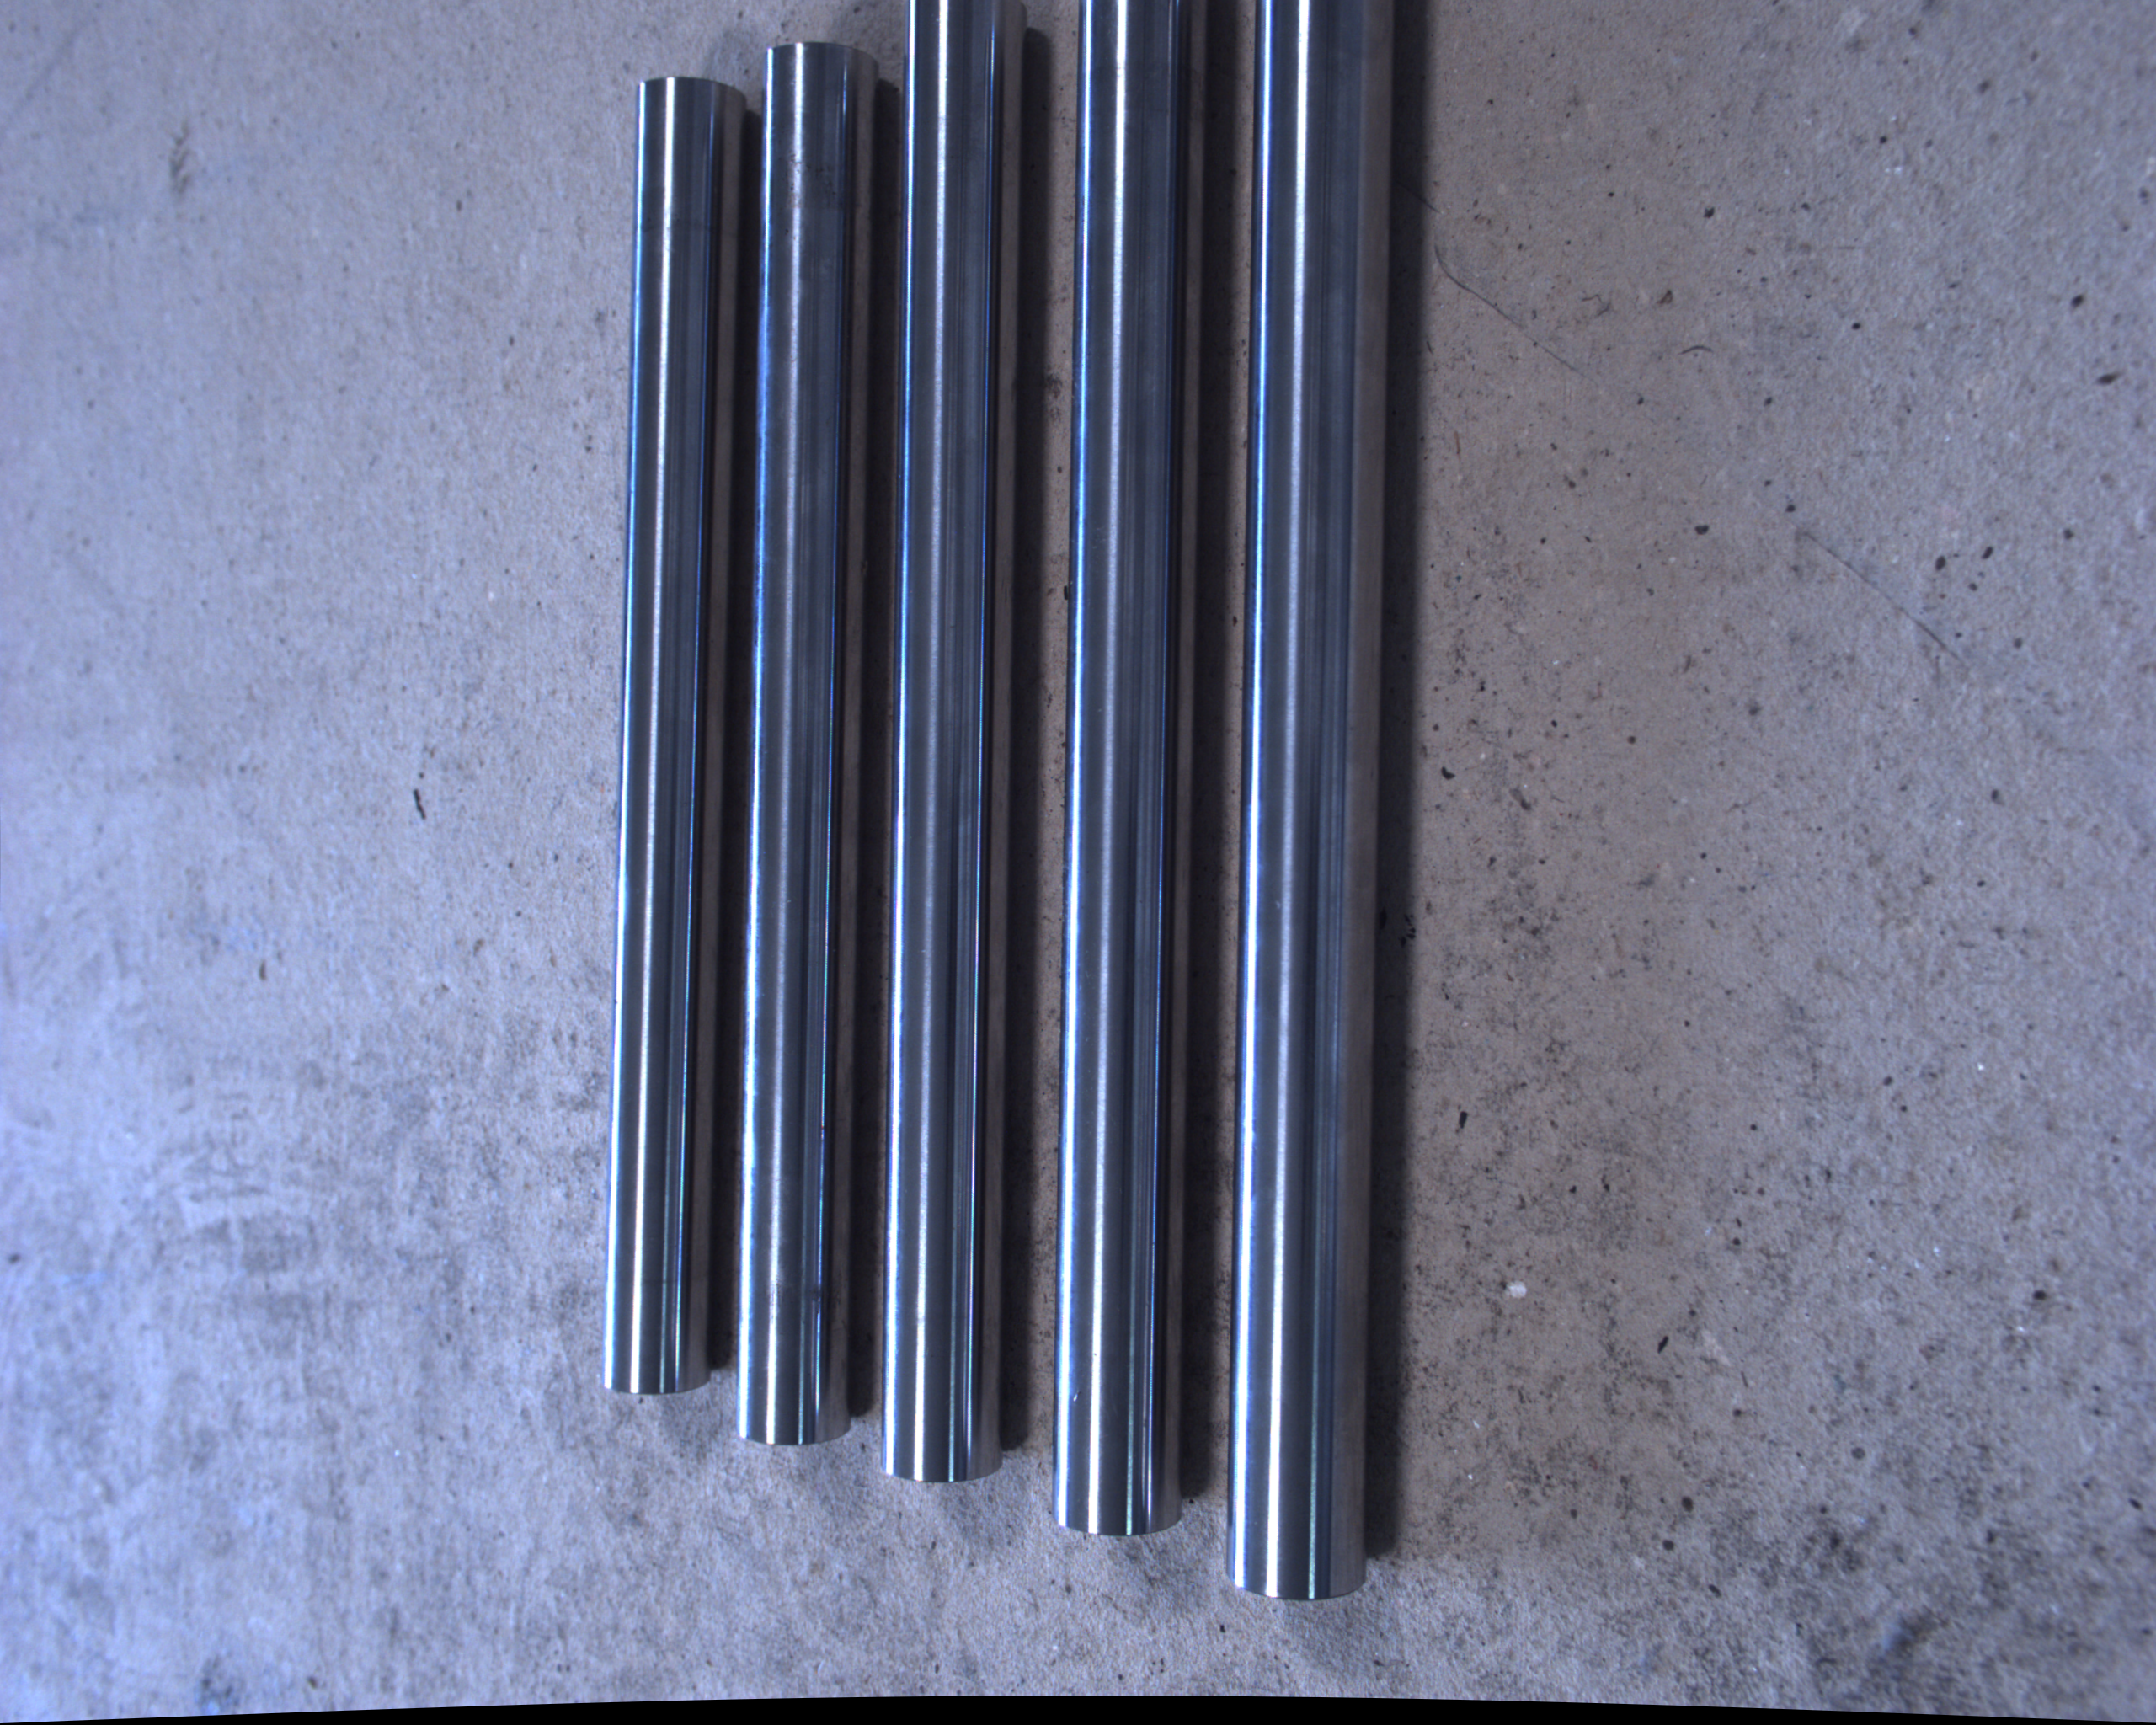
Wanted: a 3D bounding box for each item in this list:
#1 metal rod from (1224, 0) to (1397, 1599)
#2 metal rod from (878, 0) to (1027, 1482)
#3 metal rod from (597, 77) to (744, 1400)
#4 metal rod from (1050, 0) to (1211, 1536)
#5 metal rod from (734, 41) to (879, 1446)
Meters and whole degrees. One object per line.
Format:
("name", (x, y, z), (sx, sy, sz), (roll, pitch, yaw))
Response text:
("metal rod", (0.042, -0.022, 0.372), (0.025, 0.025, 0.298), (2, 91, 40))
("metal rod", (-0.026, -0.025, 0.428), (0.025, 0.025, 0.298), (2, 91, 40))
("metal rod", (-0.094, -0.027, 0.483), (0.025, 0.025, 0.298), (3, 92, 40))
("metal rod", (0.010, -0.024, 0.398), (0.025, 0.025, 0.298), (2, 91, 40))
("metal rod", (-0.059, -0.025, 0.455), (0.025, 0.025, 0.298), (2, 91, 40))
